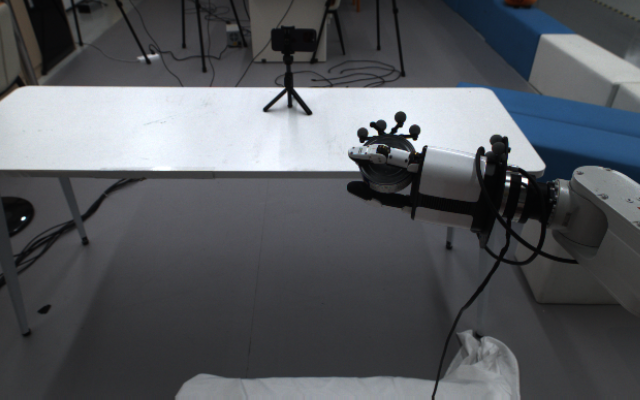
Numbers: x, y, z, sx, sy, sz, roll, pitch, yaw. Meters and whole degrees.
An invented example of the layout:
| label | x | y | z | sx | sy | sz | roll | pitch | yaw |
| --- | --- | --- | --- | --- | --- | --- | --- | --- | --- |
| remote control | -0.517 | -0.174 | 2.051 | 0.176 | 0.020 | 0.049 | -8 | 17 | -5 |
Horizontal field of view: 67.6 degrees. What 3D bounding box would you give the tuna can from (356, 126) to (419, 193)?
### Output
| label | x | y | z | sx | sy | sz | roll | pitch | yaw |
| --- | --- | --- | --- | --- | --- | --- | --- | --- | --- |
| tuna can | 0.100 | -0.054 | 0.719 | 0.085 | 0.034 | 0.085 | -6 | 61 | 10 |
